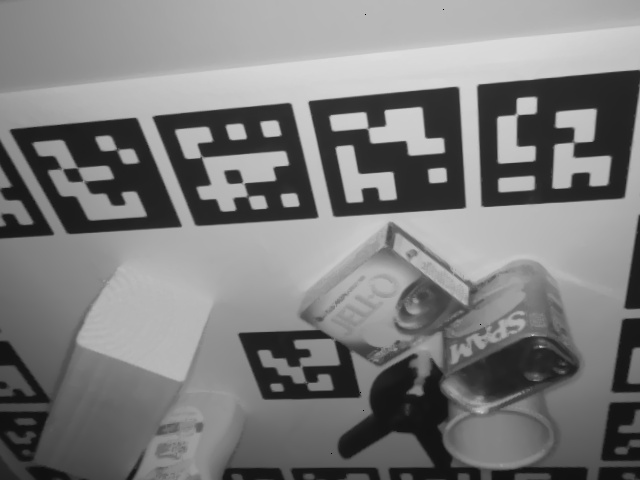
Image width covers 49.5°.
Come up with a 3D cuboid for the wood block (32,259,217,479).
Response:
[{"bbox_3d":[-0.183,0.127,0.642,0.090,0.092,0.203,26,128,-13],"label":"wood block"}]

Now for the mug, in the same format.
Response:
[{"bbox_3d":[0.161,0.147,0.640,0.093,0.082,0.115,15,126,-3],"label":"mug"}]

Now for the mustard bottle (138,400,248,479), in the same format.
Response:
[{"bbox_3d":[-0.133,0.241,0.651,0.095,0.193,0.058,-7,125,13],"label":"mustard bottle"}]

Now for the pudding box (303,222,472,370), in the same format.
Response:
[{"bbox_3d":[0.056,0.049,0.579,0.090,0.039,0.112,38,124,-19],"label":"pudding box"}]

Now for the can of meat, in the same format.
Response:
[{"bbox_3d":[0.152,0.078,0.553,0.100,0.084,0.058,-30,116,27],"label":"can of meat"}]

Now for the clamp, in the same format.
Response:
[{"bbox_3d":[0.087,0.180,0.680,0.122,0.037,0.163,13,126,0],"label":"clamp"}]
